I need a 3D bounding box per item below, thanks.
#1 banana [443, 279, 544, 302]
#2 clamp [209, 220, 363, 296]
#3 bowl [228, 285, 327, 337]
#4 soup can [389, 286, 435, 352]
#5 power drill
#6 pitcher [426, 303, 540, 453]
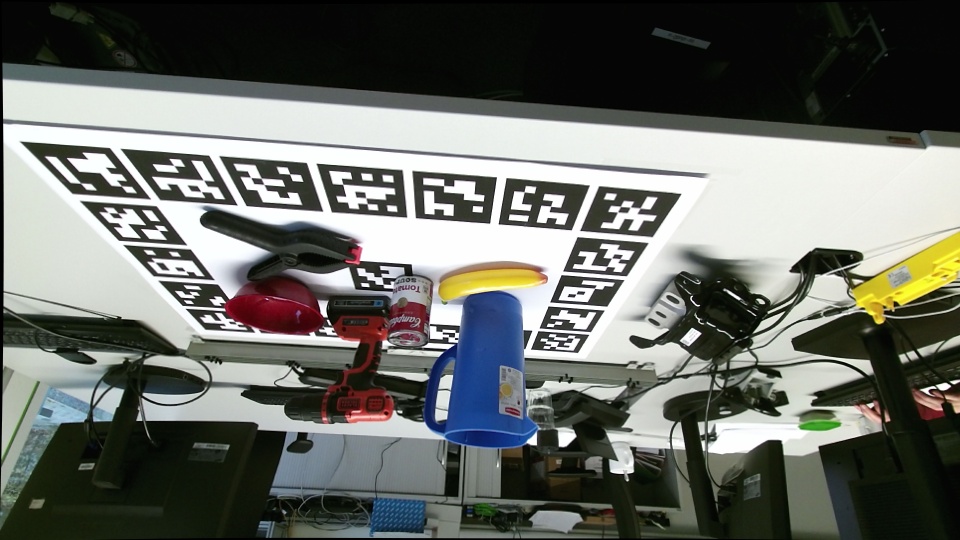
[{"bbox_3d":[0.019,0.039,0.862,0.198,0.038,0.074,-9,155,20],"label":"banana"},{"bbox_3d":[-0.268,-0.009,0.784,0.203,0.036,0.165,3,144,-1],"label":"clamp"},{"bbox_3d":[-0.339,0.072,0.915,0.162,0.055,0.162,1,147,1],"label":"bowl"},{"bbox_3d":[-0.110,0.085,0.881,0.068,0.101,0.068,2,157,1],"label":"soup can"},{"bbox_3d":[-0.237,0.180,0.926,0.185,0.186,0.057,2,148,2],"label":"power drill"},{"bbox_3d":[0.004,0.185,0.903,0.189,0.241,0.133,-9,150,18],"label":"pitcher"}]
